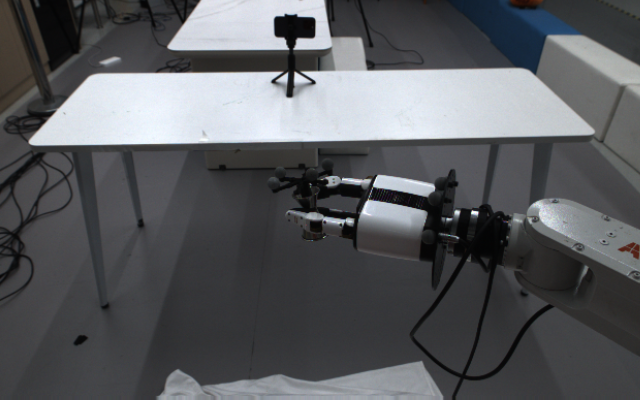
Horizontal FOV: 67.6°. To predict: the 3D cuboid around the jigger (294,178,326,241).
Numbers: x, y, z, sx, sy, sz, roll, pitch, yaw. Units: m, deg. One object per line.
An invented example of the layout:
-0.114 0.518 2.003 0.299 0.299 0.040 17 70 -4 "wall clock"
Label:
-0.012 0.019 0.688 0.043 0.071 0.043 -12 24 5 "jigger"
